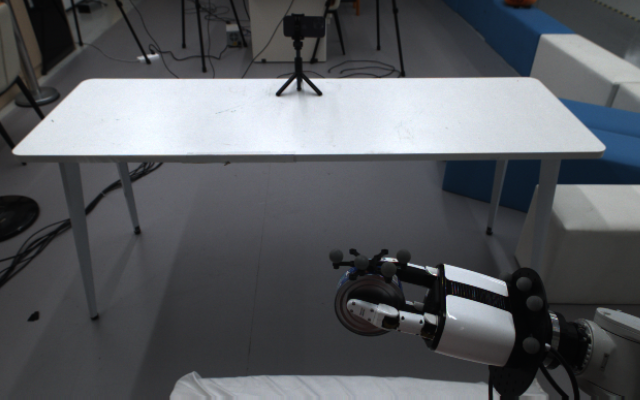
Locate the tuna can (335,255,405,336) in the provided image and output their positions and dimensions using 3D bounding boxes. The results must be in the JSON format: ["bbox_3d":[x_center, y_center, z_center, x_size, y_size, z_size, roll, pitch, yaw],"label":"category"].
[{"bbox_3d":[0.063,0.121,0.593,0.085,0.085,0.034,5,16,4],"label":"tuna can"}]
